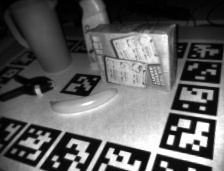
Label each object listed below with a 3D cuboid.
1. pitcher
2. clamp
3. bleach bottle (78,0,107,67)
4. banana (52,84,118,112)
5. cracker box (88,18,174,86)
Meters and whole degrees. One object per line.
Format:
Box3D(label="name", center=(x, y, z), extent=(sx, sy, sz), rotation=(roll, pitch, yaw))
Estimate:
Box3D(label="pitcher", center=(-0.247, -0.187, 0.726), extent=(0.188, 0.244, 0.133), rotation=(-4, 38, 8))
Box3D(label="clamp", center=(-0.264, -0.007, 0.709), extent=(0.164, 0.037, 0.121), rotation=(-3, 37, 10))
Box3D(label="bleach bottle", center=(-0.059, -0.178, 0.690), extent=(0.101, 0.253, 0.068), rotation=(6, 41, 25))
Box3D(label="banana", center=(-0.075, 0.037, 0.609), extent=(0.197, 0.039, 0.073), rotation=(-15, 37, -2))
Box3D(label="cracker box", center=(0.055, -0.093, 0.594), extent=(0.211, 0.165, 0.072), rotation=(7, 40, 27))
